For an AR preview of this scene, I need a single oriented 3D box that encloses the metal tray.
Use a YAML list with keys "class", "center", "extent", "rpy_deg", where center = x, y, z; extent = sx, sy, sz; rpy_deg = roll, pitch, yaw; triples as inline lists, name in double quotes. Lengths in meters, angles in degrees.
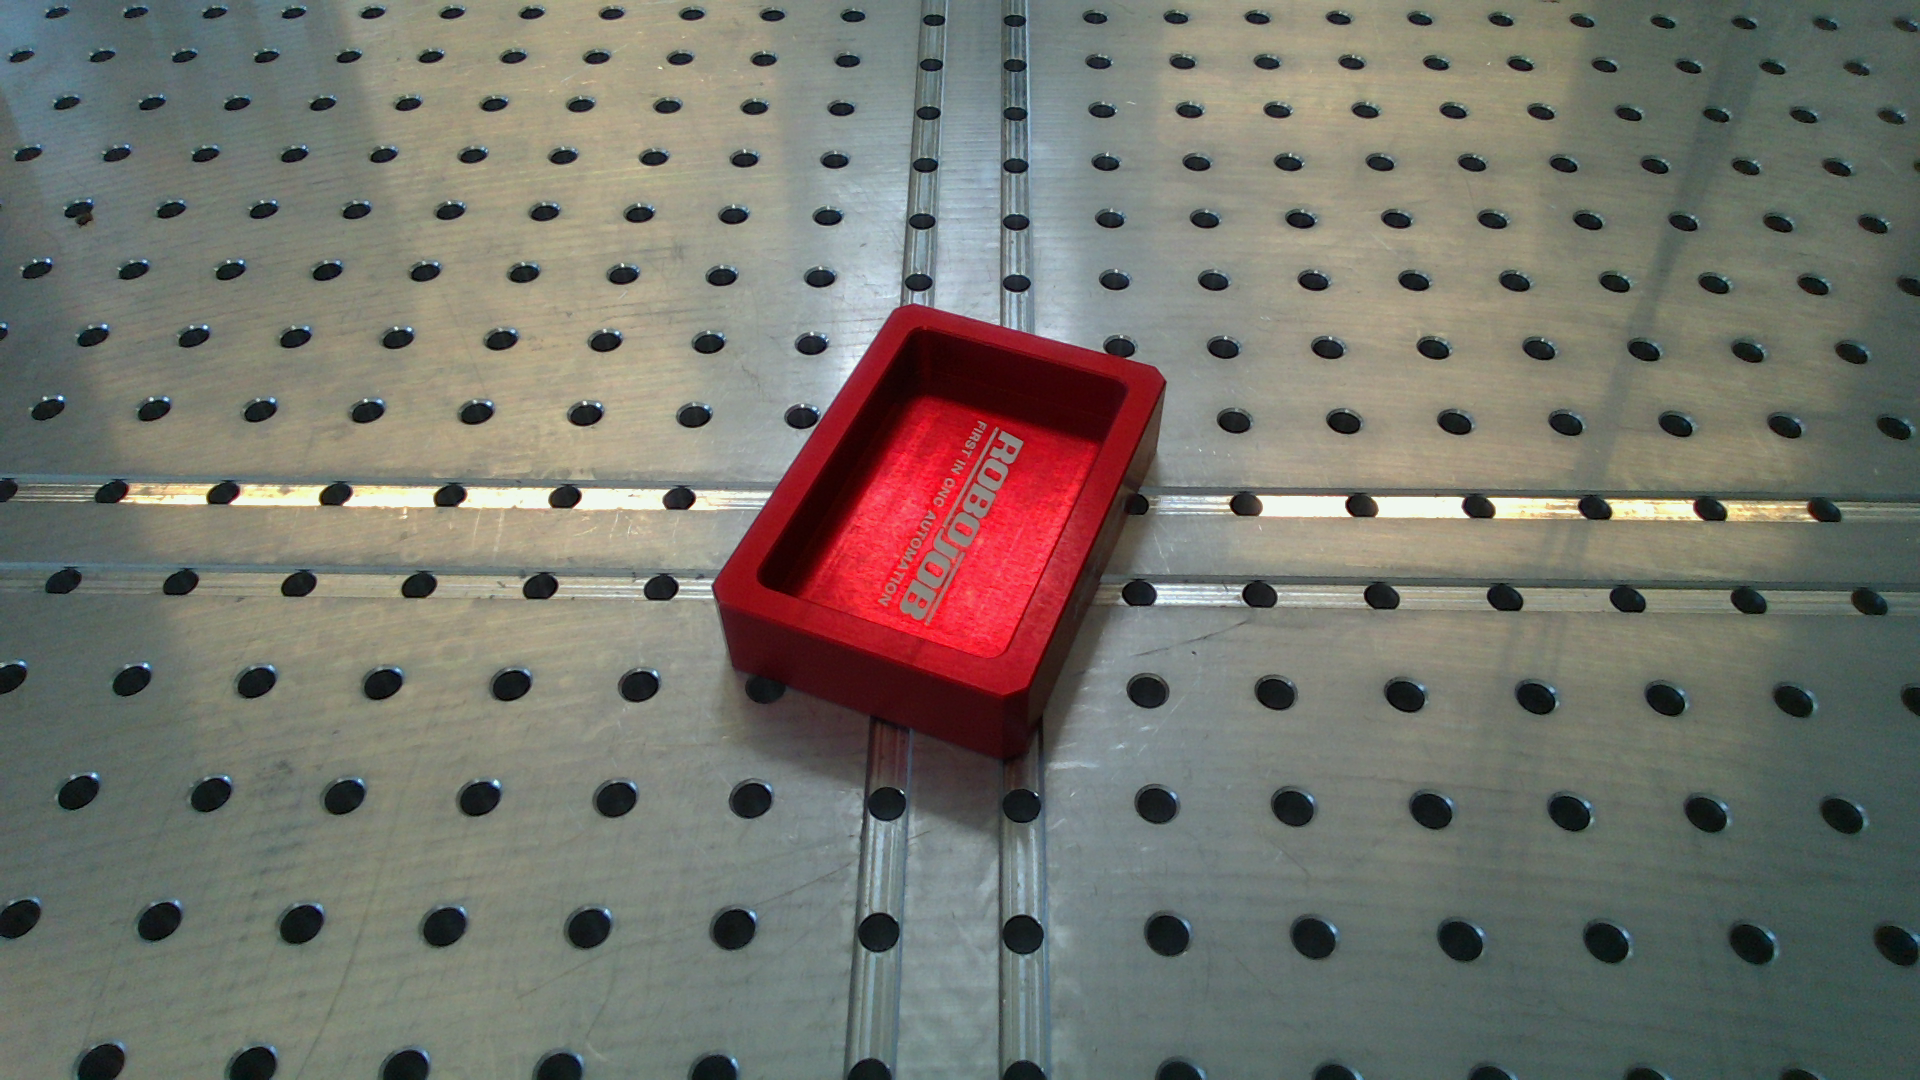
- class: "metal tray"
  center: [-0.002, -0.009, 0.398]
  extent: [0.090, 0.030, 0.130]
  rpy_deg: [17, 52, 13]
